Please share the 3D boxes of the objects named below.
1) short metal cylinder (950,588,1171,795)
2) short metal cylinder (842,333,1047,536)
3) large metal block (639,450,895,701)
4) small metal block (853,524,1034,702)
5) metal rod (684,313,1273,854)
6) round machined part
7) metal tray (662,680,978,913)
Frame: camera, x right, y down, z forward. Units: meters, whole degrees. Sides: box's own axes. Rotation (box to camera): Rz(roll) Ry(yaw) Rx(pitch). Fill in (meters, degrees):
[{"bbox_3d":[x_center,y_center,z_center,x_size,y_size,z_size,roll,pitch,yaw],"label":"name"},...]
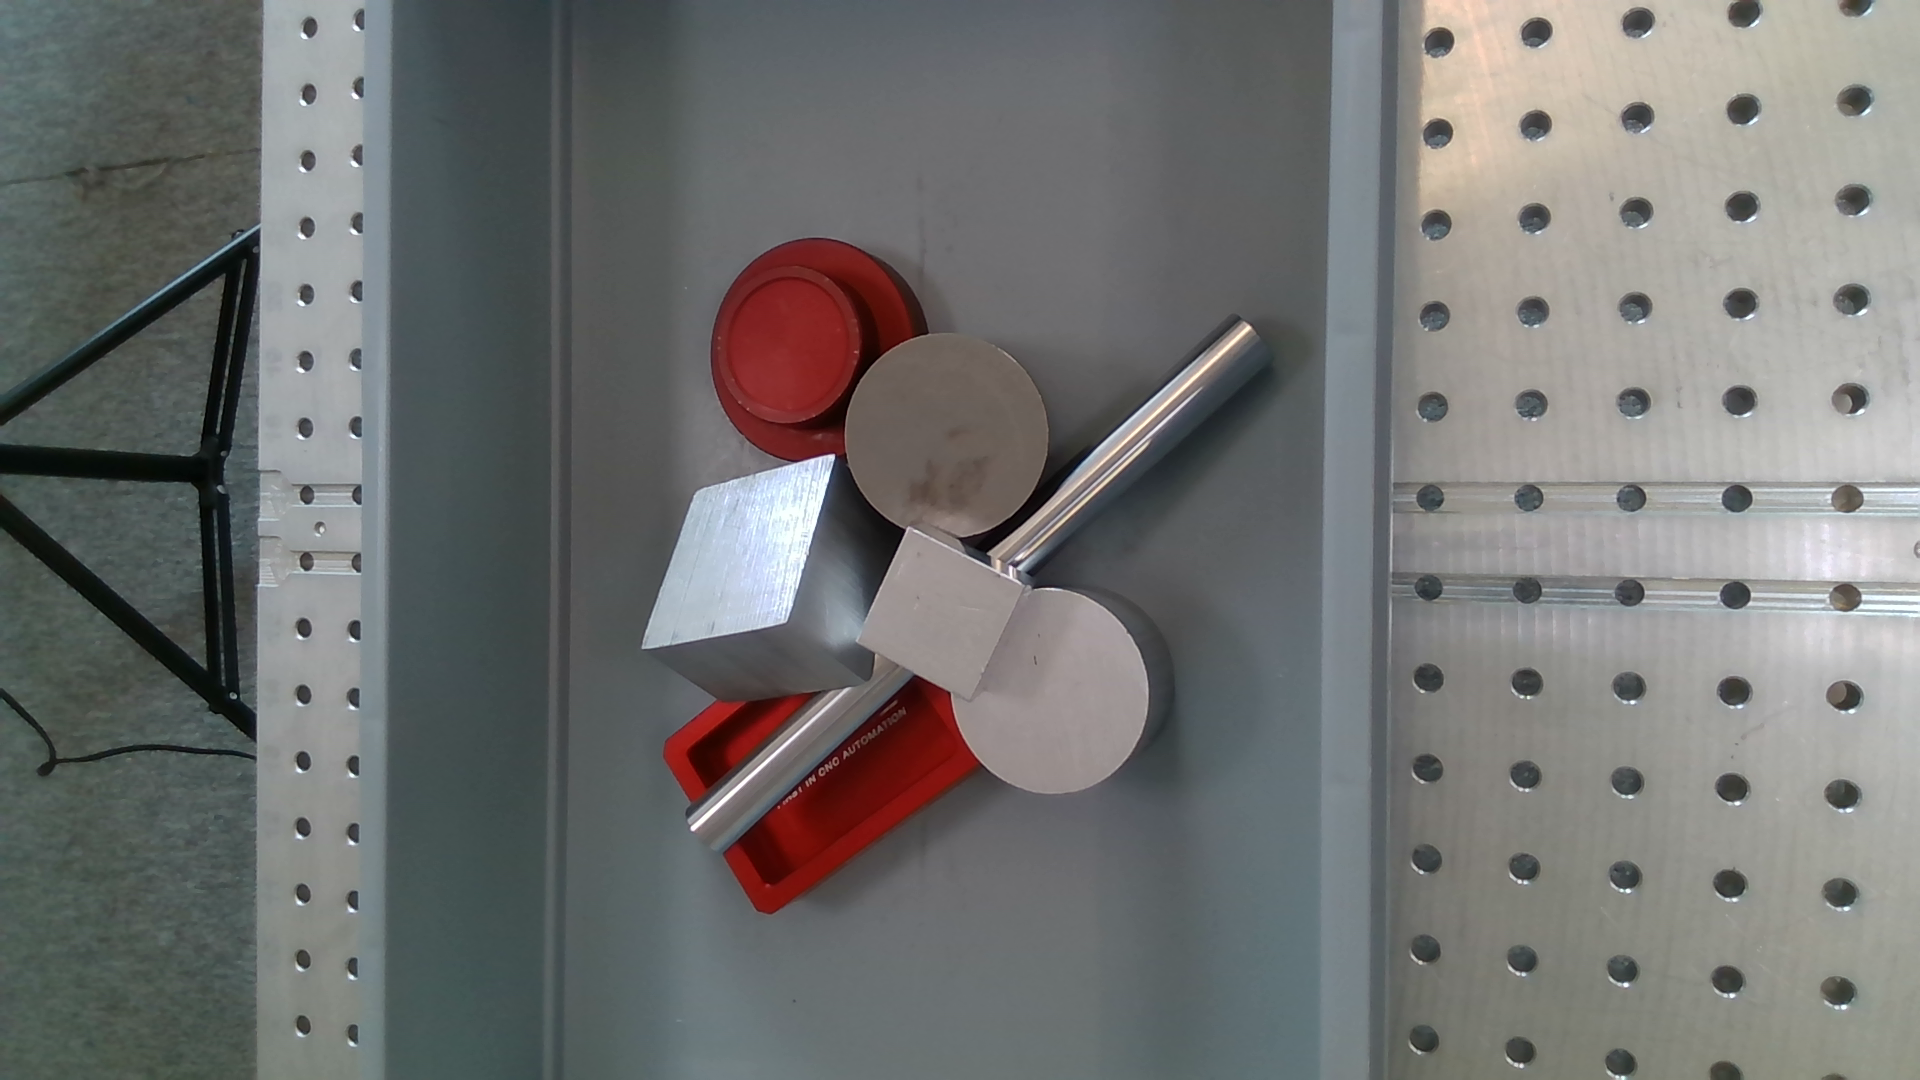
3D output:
[{"bbox_3d":[0.042,0.059,0.557,0.080,0.050,0.080,0,91,20],"label":"short metal cylinder"},{"bbox_3d":[-0.005,-0.044,0.561,0.080,0.050,0.080,1,98,4],"label":"short metal cylinder"},{"bbox_3d":[-0.076,0.017,0.572,0.080,0.050,0.080,-12,52,34],"label":"large metal block"},{"bbox_3d":[-0.006,0.027,0.531,0.050,0.025,0.050,26,99,10],"label":"small metal block"},{"bbox_3d":[0.004,0.020,0.557,0.300,0.025,0.025,-42,77,6],"label":"metal rod"},{"bbox_3d":[-0.067,-0.083,0.599,0.098,0.042,0.098,0,91,20],"label":"round machined part"},{"bbox_3d":[-0.057,0.091,0.604,0.130,0.030,0.090,-38,78,17],"label":"metal tray"}]
